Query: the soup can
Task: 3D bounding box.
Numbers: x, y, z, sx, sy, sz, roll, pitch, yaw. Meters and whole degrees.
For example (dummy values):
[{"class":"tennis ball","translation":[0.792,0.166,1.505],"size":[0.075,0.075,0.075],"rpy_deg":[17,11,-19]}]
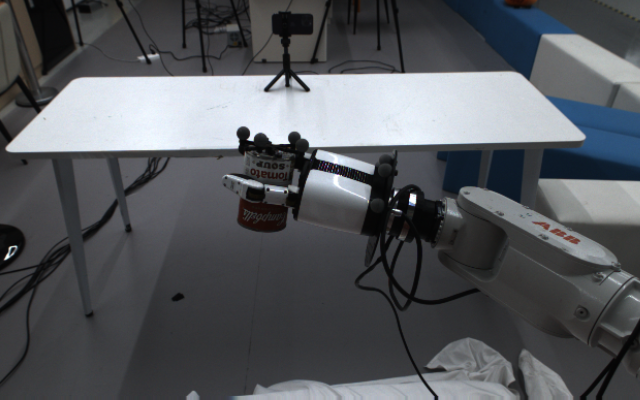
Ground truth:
[{"class":"soup can","translation":[-0.070,-0.016,0.641],"size":[0.067,0.101,0.067],"rpy_deg":[8,19,-3]}]
